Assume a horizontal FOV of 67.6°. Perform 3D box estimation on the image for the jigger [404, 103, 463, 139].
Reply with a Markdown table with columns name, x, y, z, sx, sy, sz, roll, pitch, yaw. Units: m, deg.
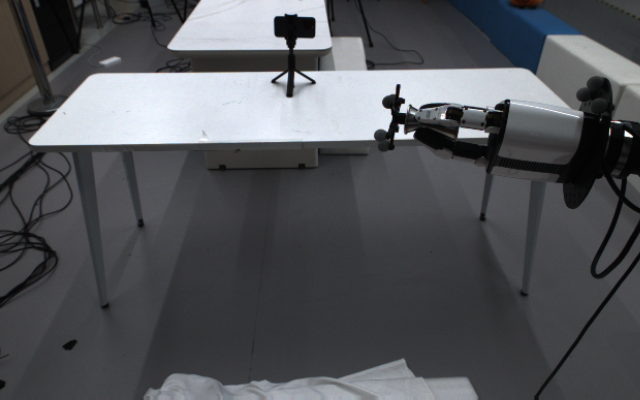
| name | x | y | z | sx | sy | sz | roll | pitch | yaw |
| --- | --- | --- | --- | --- | --- | --- | --- | --- | --- |
| jigger | 0.151 | -0.109 | 0.640 | 0.071 | 0.043 | 0.043 | 10 | 35 | 15 |
